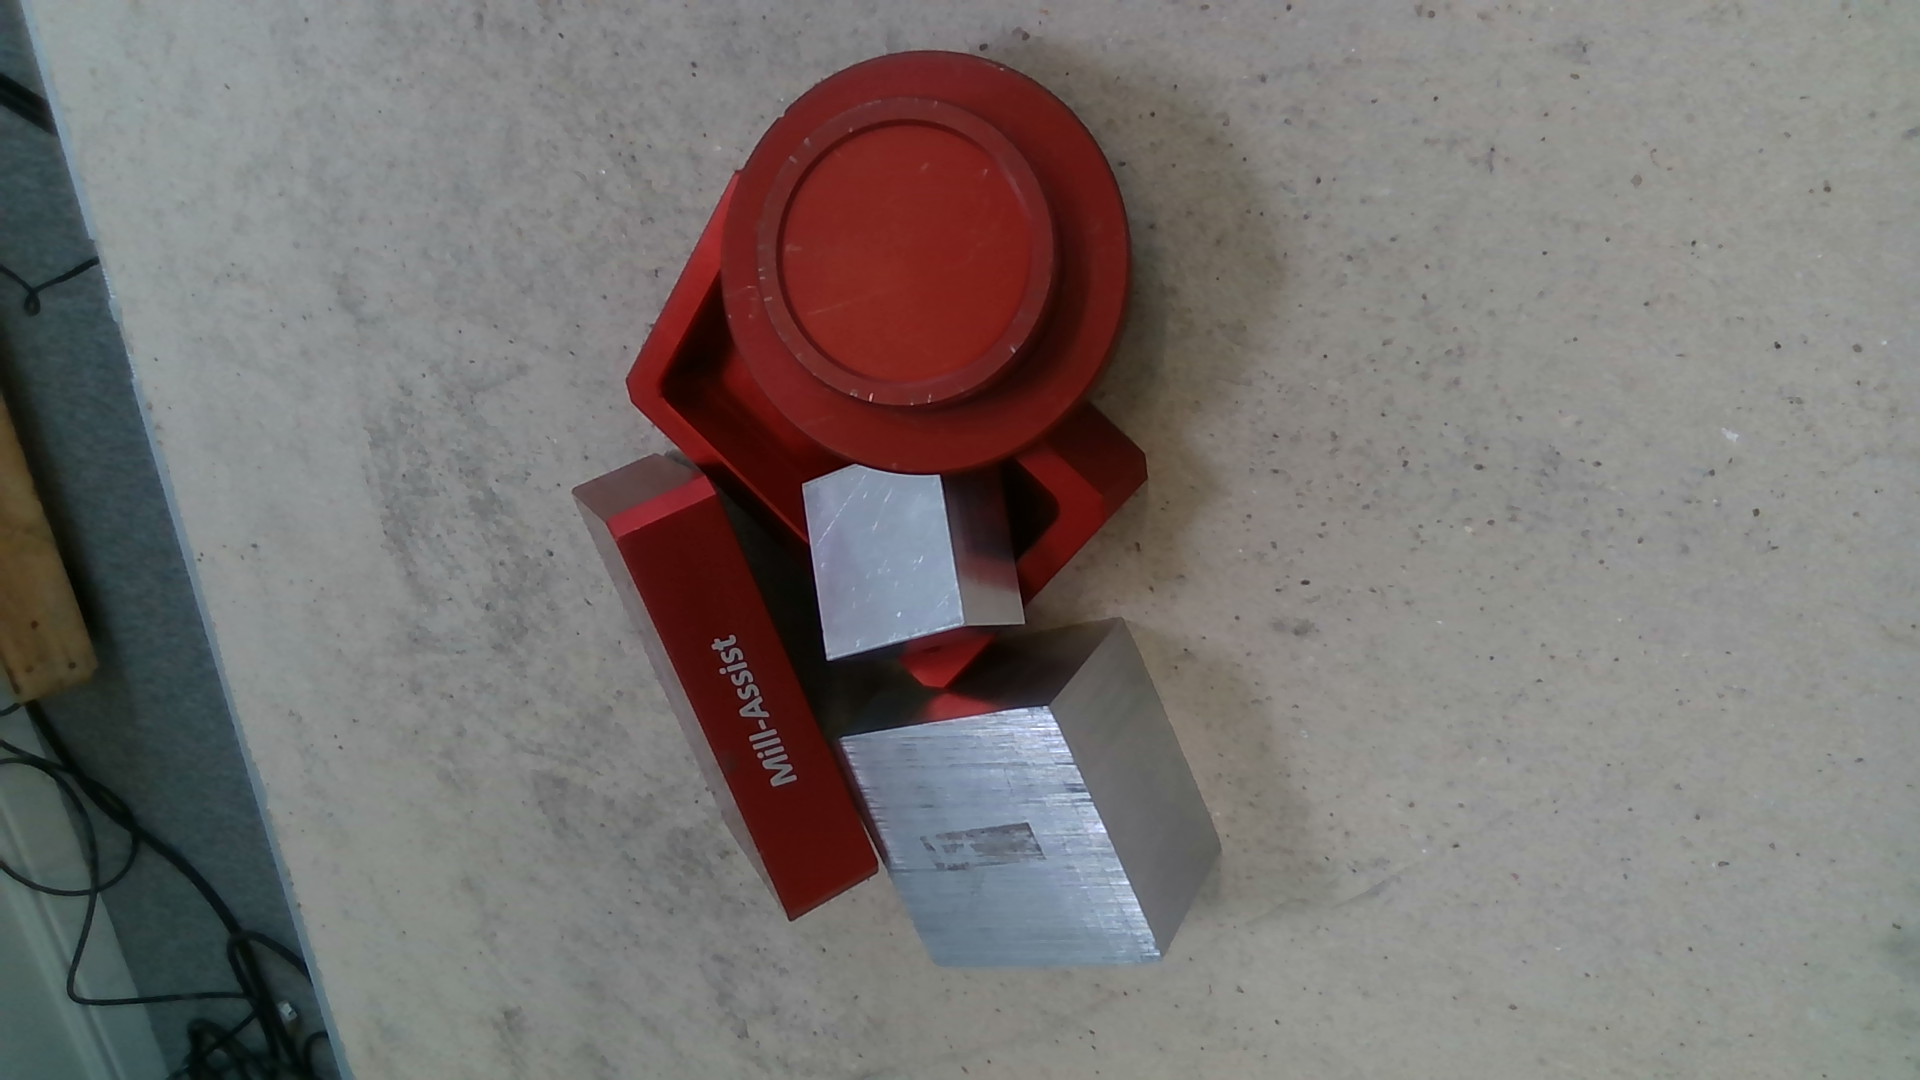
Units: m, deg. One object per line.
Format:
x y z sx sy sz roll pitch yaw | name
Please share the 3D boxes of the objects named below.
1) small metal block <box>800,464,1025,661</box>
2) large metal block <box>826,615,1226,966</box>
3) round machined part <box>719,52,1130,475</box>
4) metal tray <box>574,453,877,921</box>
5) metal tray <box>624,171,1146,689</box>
-0.014 0.003 0.369 0.050 0.025 0.050 -18 77 39 | small metal block
0.020 0.075 0.403 0.080 0.050 0.080 -14 107 36 | large metal block
-0.010 -0.064 0.322 0.098 0.042 0.098 1 94 9 | round machined part
-0.074 0.041 0.424 0.090 0.030 0.130 20 133 67 | metal tray
-0.024 -0.032 0.383 0.130 0.030 0.090 43 129 4 | metal tray
